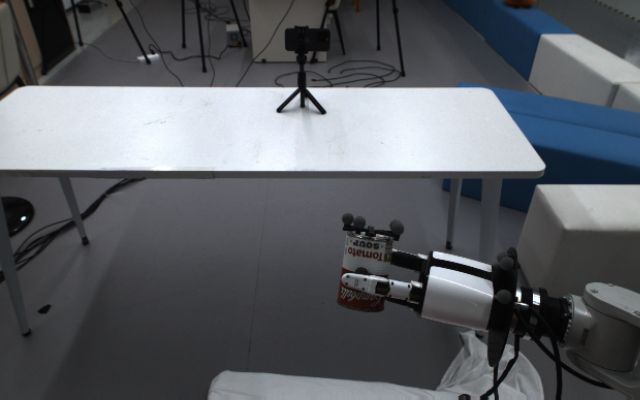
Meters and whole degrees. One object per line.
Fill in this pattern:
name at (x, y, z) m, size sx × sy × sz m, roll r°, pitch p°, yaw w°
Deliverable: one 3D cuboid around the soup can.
soup can at (0.066, 0.097, 0.678) m, size 0.067 × 0.101 × 0.067 m, roll 7°, pitch 4°, yaw 0°
